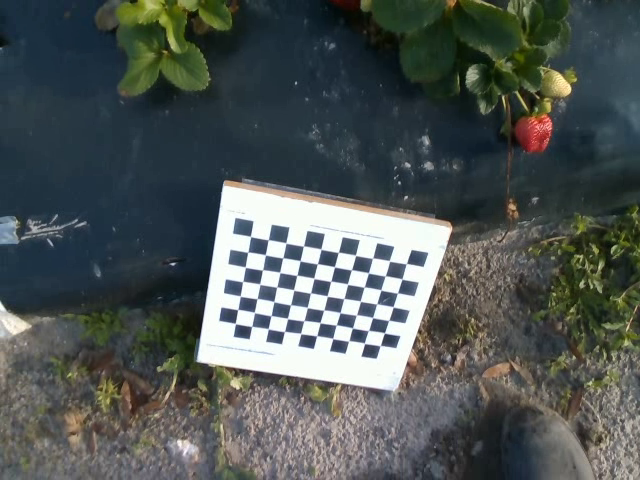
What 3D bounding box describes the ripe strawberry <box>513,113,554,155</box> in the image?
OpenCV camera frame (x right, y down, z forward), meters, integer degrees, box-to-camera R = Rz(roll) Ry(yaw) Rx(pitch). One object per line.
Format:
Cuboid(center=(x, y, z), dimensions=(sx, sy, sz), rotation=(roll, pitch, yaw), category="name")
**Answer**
Cuboid(center=(0.262, -0.126, 0.813), dimensions=(0.047, 0.050, 0.035), rotation=(-8, 23, 3), category="ripe strawberry")
